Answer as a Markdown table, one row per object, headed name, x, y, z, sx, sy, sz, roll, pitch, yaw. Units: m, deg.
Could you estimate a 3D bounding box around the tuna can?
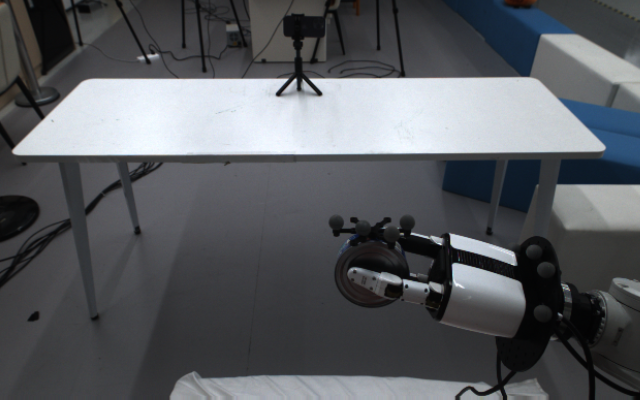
| name | x | y | z | sx | sy | sz | roll | pitch | yaw |
| --- | --- | --- | --- | --- | --- | --- | --- | --- | --- |
| tuna can | 0.063 | 0.080 | 0.565 | 0.085 | 0.085 | 0.034 | 4 | 17 | 3 |
